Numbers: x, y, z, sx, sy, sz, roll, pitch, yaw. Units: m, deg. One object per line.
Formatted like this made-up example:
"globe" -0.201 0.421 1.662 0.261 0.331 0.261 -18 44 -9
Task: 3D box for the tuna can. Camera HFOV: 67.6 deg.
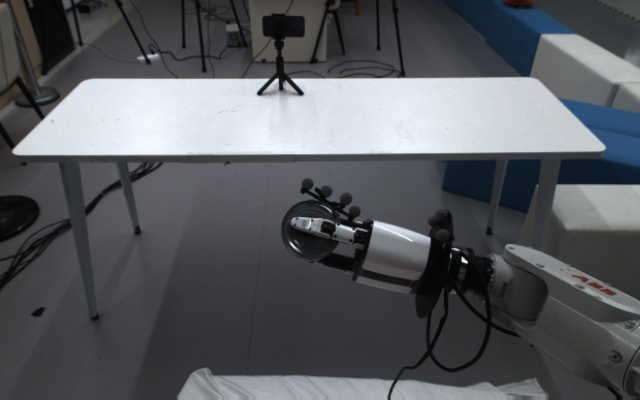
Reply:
"tuna can" -0.012 0.045 0.694 0.085 0.034 0.085 1 75 -4
